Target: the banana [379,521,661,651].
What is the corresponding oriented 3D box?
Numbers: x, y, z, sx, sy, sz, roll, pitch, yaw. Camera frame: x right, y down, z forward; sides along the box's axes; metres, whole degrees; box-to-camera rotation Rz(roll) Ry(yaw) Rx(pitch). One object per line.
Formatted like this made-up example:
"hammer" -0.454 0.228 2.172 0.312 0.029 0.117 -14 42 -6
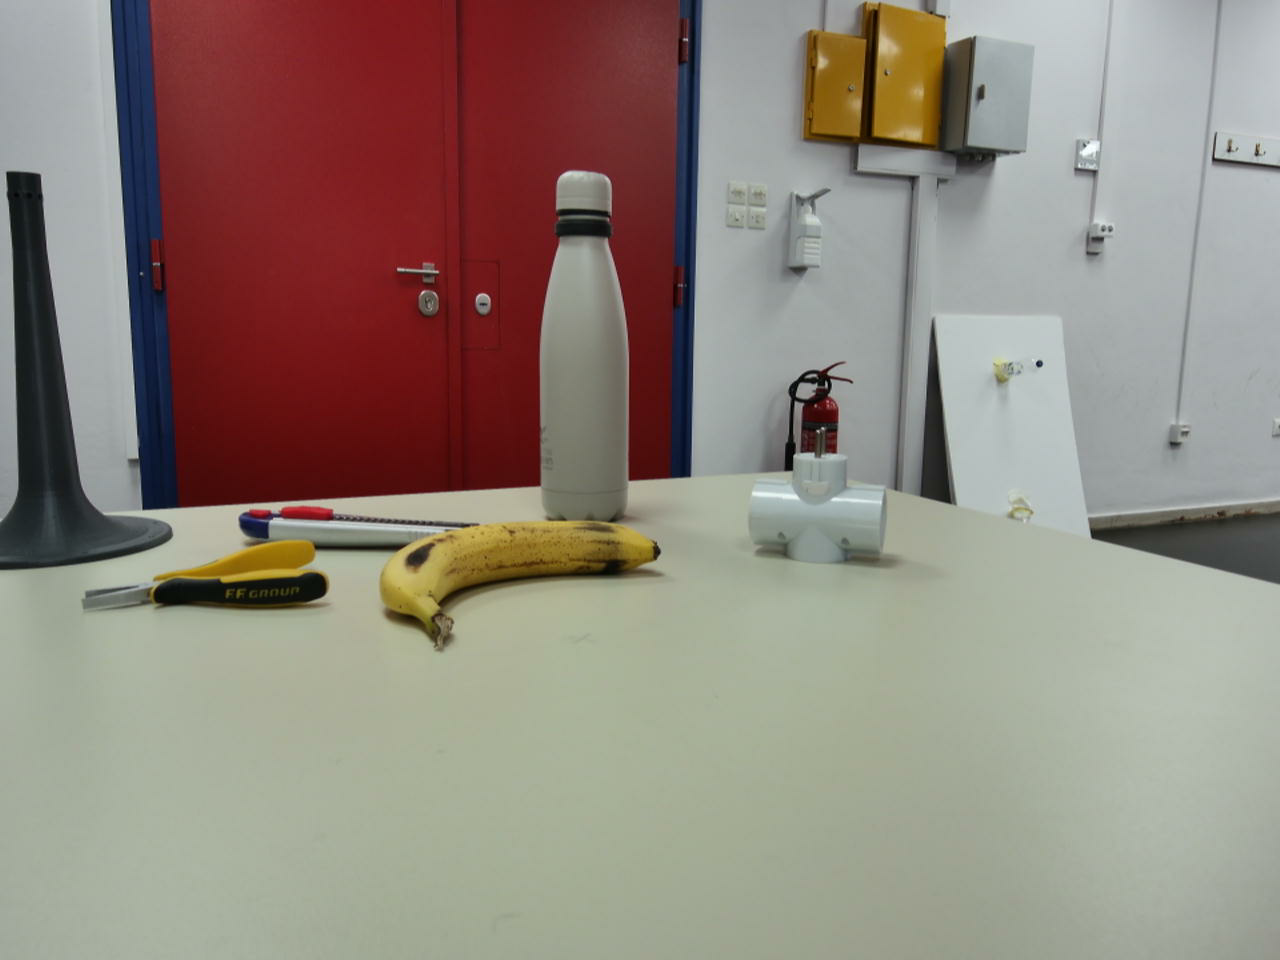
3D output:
"banana" -0.079 0.050 0.592 0.097 0.038 0.186 6 10 37
